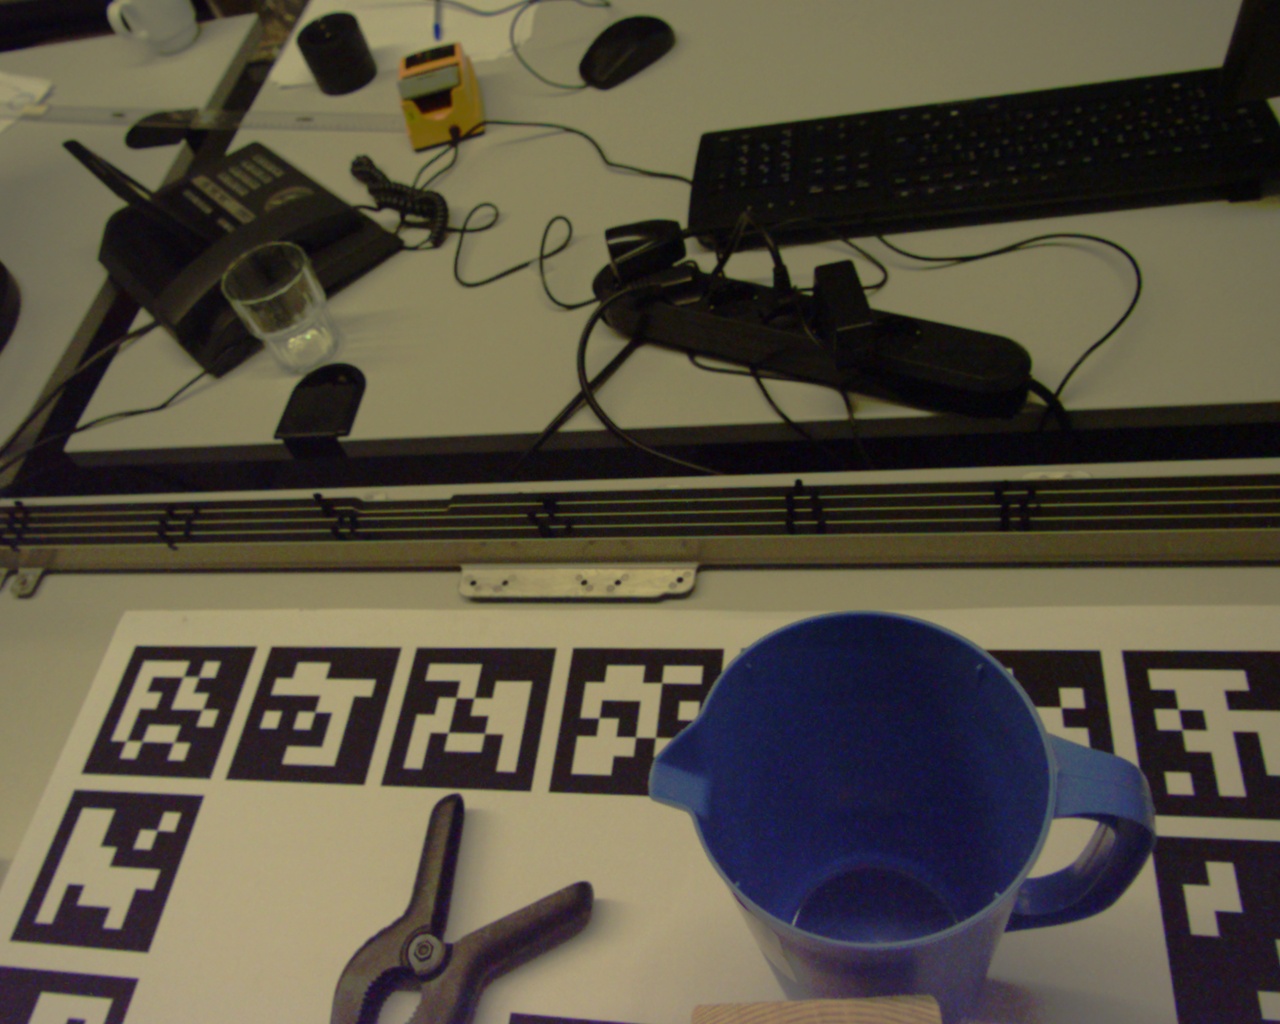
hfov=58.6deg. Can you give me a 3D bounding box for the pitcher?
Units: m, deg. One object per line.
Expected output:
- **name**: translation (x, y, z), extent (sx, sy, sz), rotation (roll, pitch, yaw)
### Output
- **pitcher**: translation (0.109, 0.161, 0.533), extent (0.190, 0.240, 0.133), rotation (-4, 49, 16)

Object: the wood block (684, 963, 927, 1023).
- **wood block**: translation (0.073, 0.267, 0.479), extent (0.090, 0.205, 0.091), rotation (-2, 52, 10)

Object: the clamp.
- **clamp**: translation (-0.119, 0.252, 0.669), extent (0.123, 0.036, 0.164), rotation (28, 65, 24)
